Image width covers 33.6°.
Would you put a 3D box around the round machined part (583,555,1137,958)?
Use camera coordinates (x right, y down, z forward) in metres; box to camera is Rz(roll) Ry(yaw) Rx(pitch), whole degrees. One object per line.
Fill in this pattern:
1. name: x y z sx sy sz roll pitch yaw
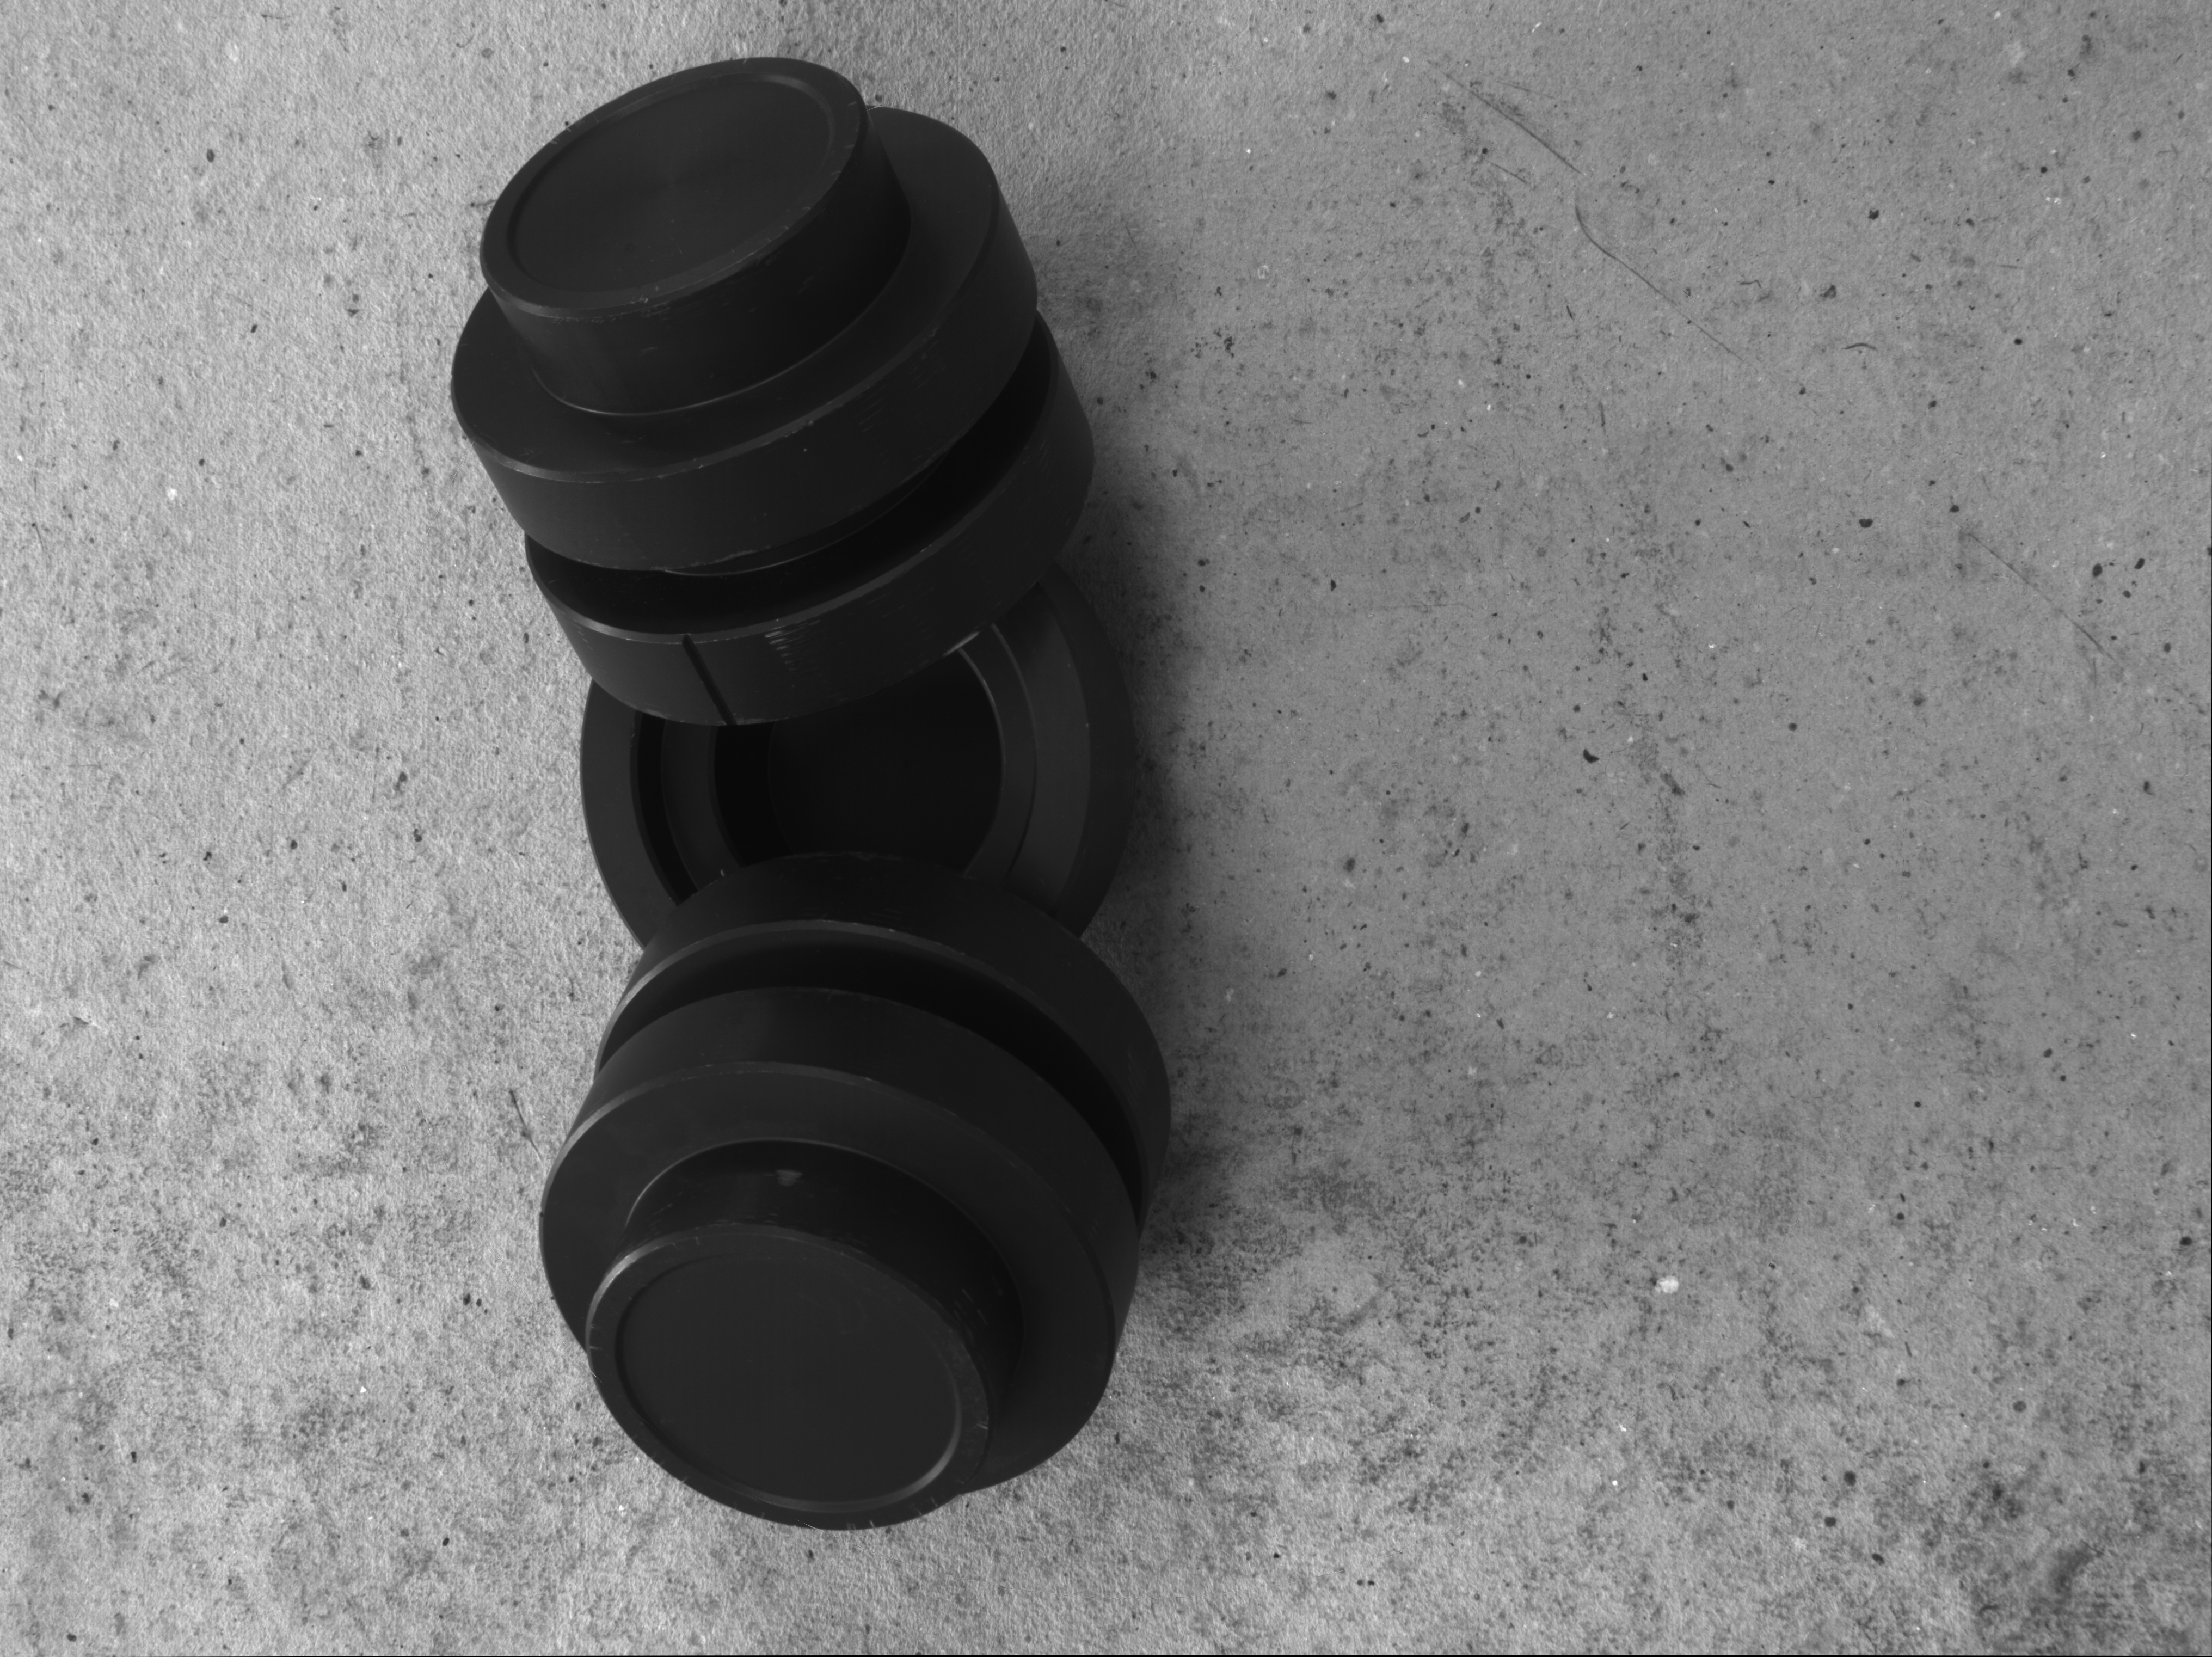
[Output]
1. round machined part: -0.040 -0.011 0.653 0.098 0.042 0.098 0 90 20

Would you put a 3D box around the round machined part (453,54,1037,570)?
1. round machined part: -0.064 -0.091 0.609 0.098 0.042 0.098 -13 43 13

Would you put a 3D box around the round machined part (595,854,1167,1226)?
1. round machined part: -0.041 0.056 0.626 0.098 0.042 0.098 7 128 10

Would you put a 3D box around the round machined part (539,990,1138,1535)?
1. round machined part: -0.047 0.077 0.603 0.098 0.042 0.098 7 127 10

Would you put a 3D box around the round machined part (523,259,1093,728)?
1. round machined part: -0.055 -0.066 0.628 0.098 0.042 0.098 -13 43 13
